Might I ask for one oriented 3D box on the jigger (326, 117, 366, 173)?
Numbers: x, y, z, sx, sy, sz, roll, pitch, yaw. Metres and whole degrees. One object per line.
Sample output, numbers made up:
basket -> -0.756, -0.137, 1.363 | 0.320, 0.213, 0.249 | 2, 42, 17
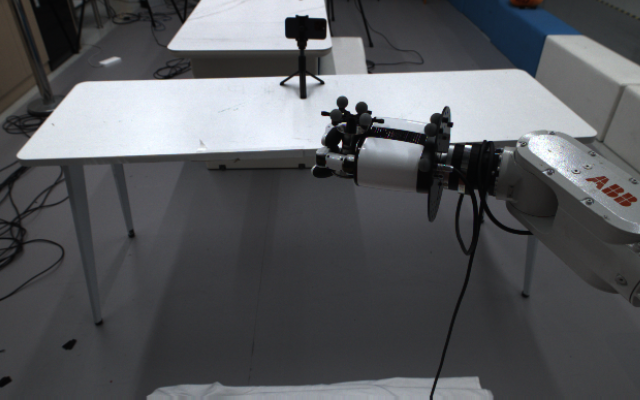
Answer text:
jigger -> 0.042, -0.070, 0.703 | 0.043, 0.071, 0.043 | 5, 26, -3
